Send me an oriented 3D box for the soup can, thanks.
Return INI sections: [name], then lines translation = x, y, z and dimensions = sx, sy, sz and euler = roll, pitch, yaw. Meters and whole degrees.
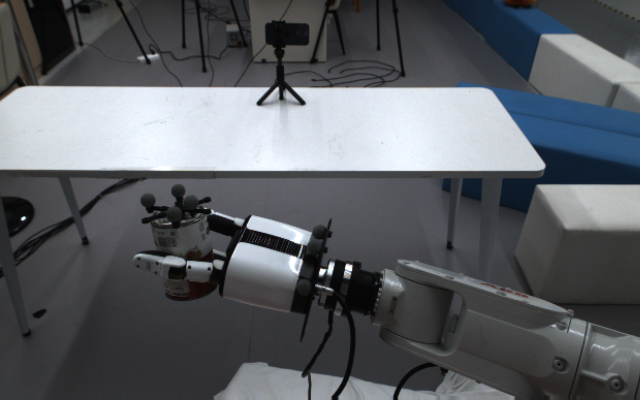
[soup can]
translation = -0.165, 0.065, 0.598
dimensions = 0.067, 0.101, 0.067
euler = -4, 21, 1
